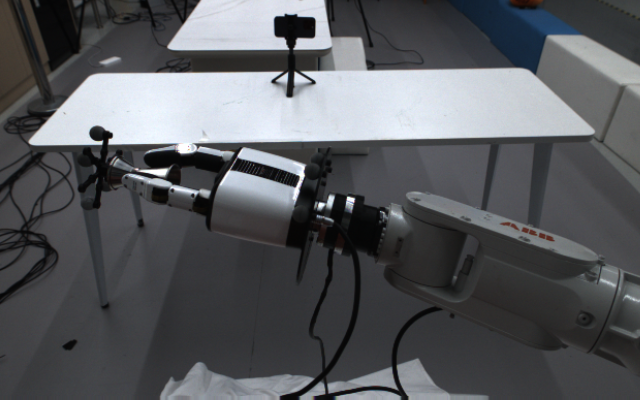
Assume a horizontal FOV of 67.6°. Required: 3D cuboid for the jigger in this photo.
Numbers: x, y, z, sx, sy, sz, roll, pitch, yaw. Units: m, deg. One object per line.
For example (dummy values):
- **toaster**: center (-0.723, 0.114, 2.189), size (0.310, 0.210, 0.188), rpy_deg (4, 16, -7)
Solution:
- **jigger**: center (-0.192, -0.027, 0.552), size (0.071, 0.043, 0.043), rpy_deg (10, 35, 3)
